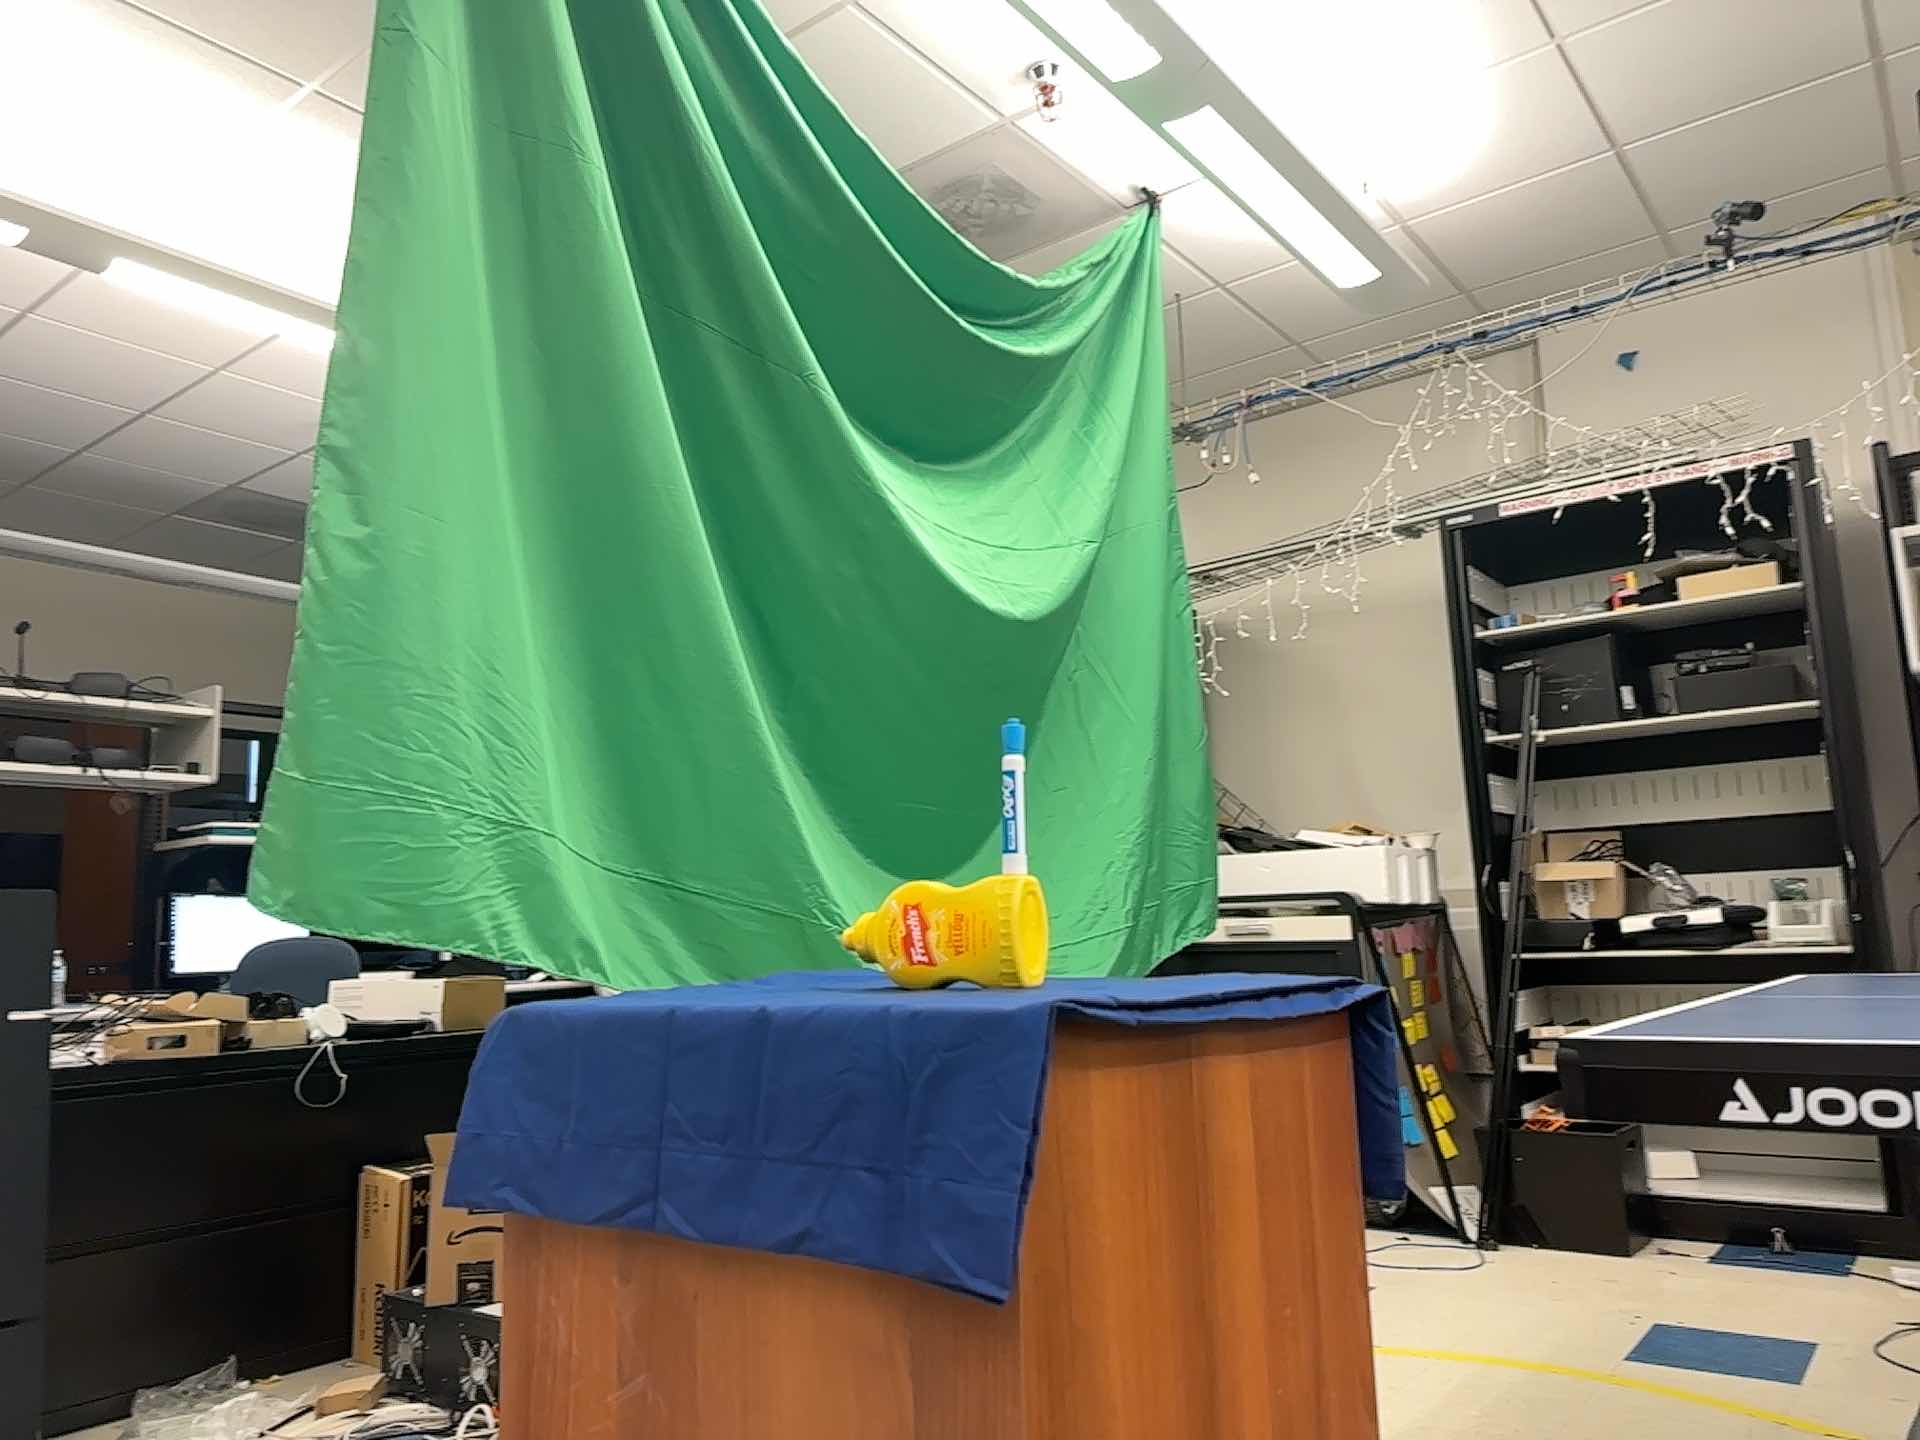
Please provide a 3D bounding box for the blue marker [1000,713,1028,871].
[{"bbox_3d":[0.041,0.055,1.040,0.020,0.121,0.020,-1,-10,0],"label":"blue marker"}]

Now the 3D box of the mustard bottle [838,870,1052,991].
[{"bbox_3d":[-0.019,0.167,1.065,0.184,0.092,0.054,-7,-3,31],"label":"mustard bottle"}]
